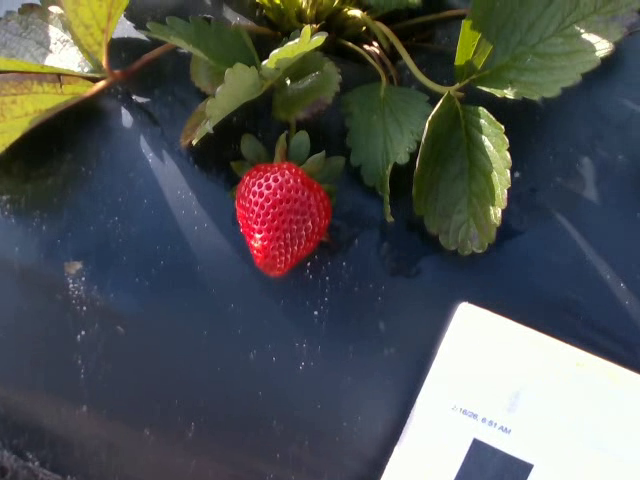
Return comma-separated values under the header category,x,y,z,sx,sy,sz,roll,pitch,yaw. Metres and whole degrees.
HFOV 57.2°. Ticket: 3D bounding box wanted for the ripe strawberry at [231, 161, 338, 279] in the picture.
category,x,y,z,sx,sy,sz,roll,pitch,yaw
ripe strawberry,-0.014,-0.005,0.193,0.041,0.047,0.041,-3,-42,25
